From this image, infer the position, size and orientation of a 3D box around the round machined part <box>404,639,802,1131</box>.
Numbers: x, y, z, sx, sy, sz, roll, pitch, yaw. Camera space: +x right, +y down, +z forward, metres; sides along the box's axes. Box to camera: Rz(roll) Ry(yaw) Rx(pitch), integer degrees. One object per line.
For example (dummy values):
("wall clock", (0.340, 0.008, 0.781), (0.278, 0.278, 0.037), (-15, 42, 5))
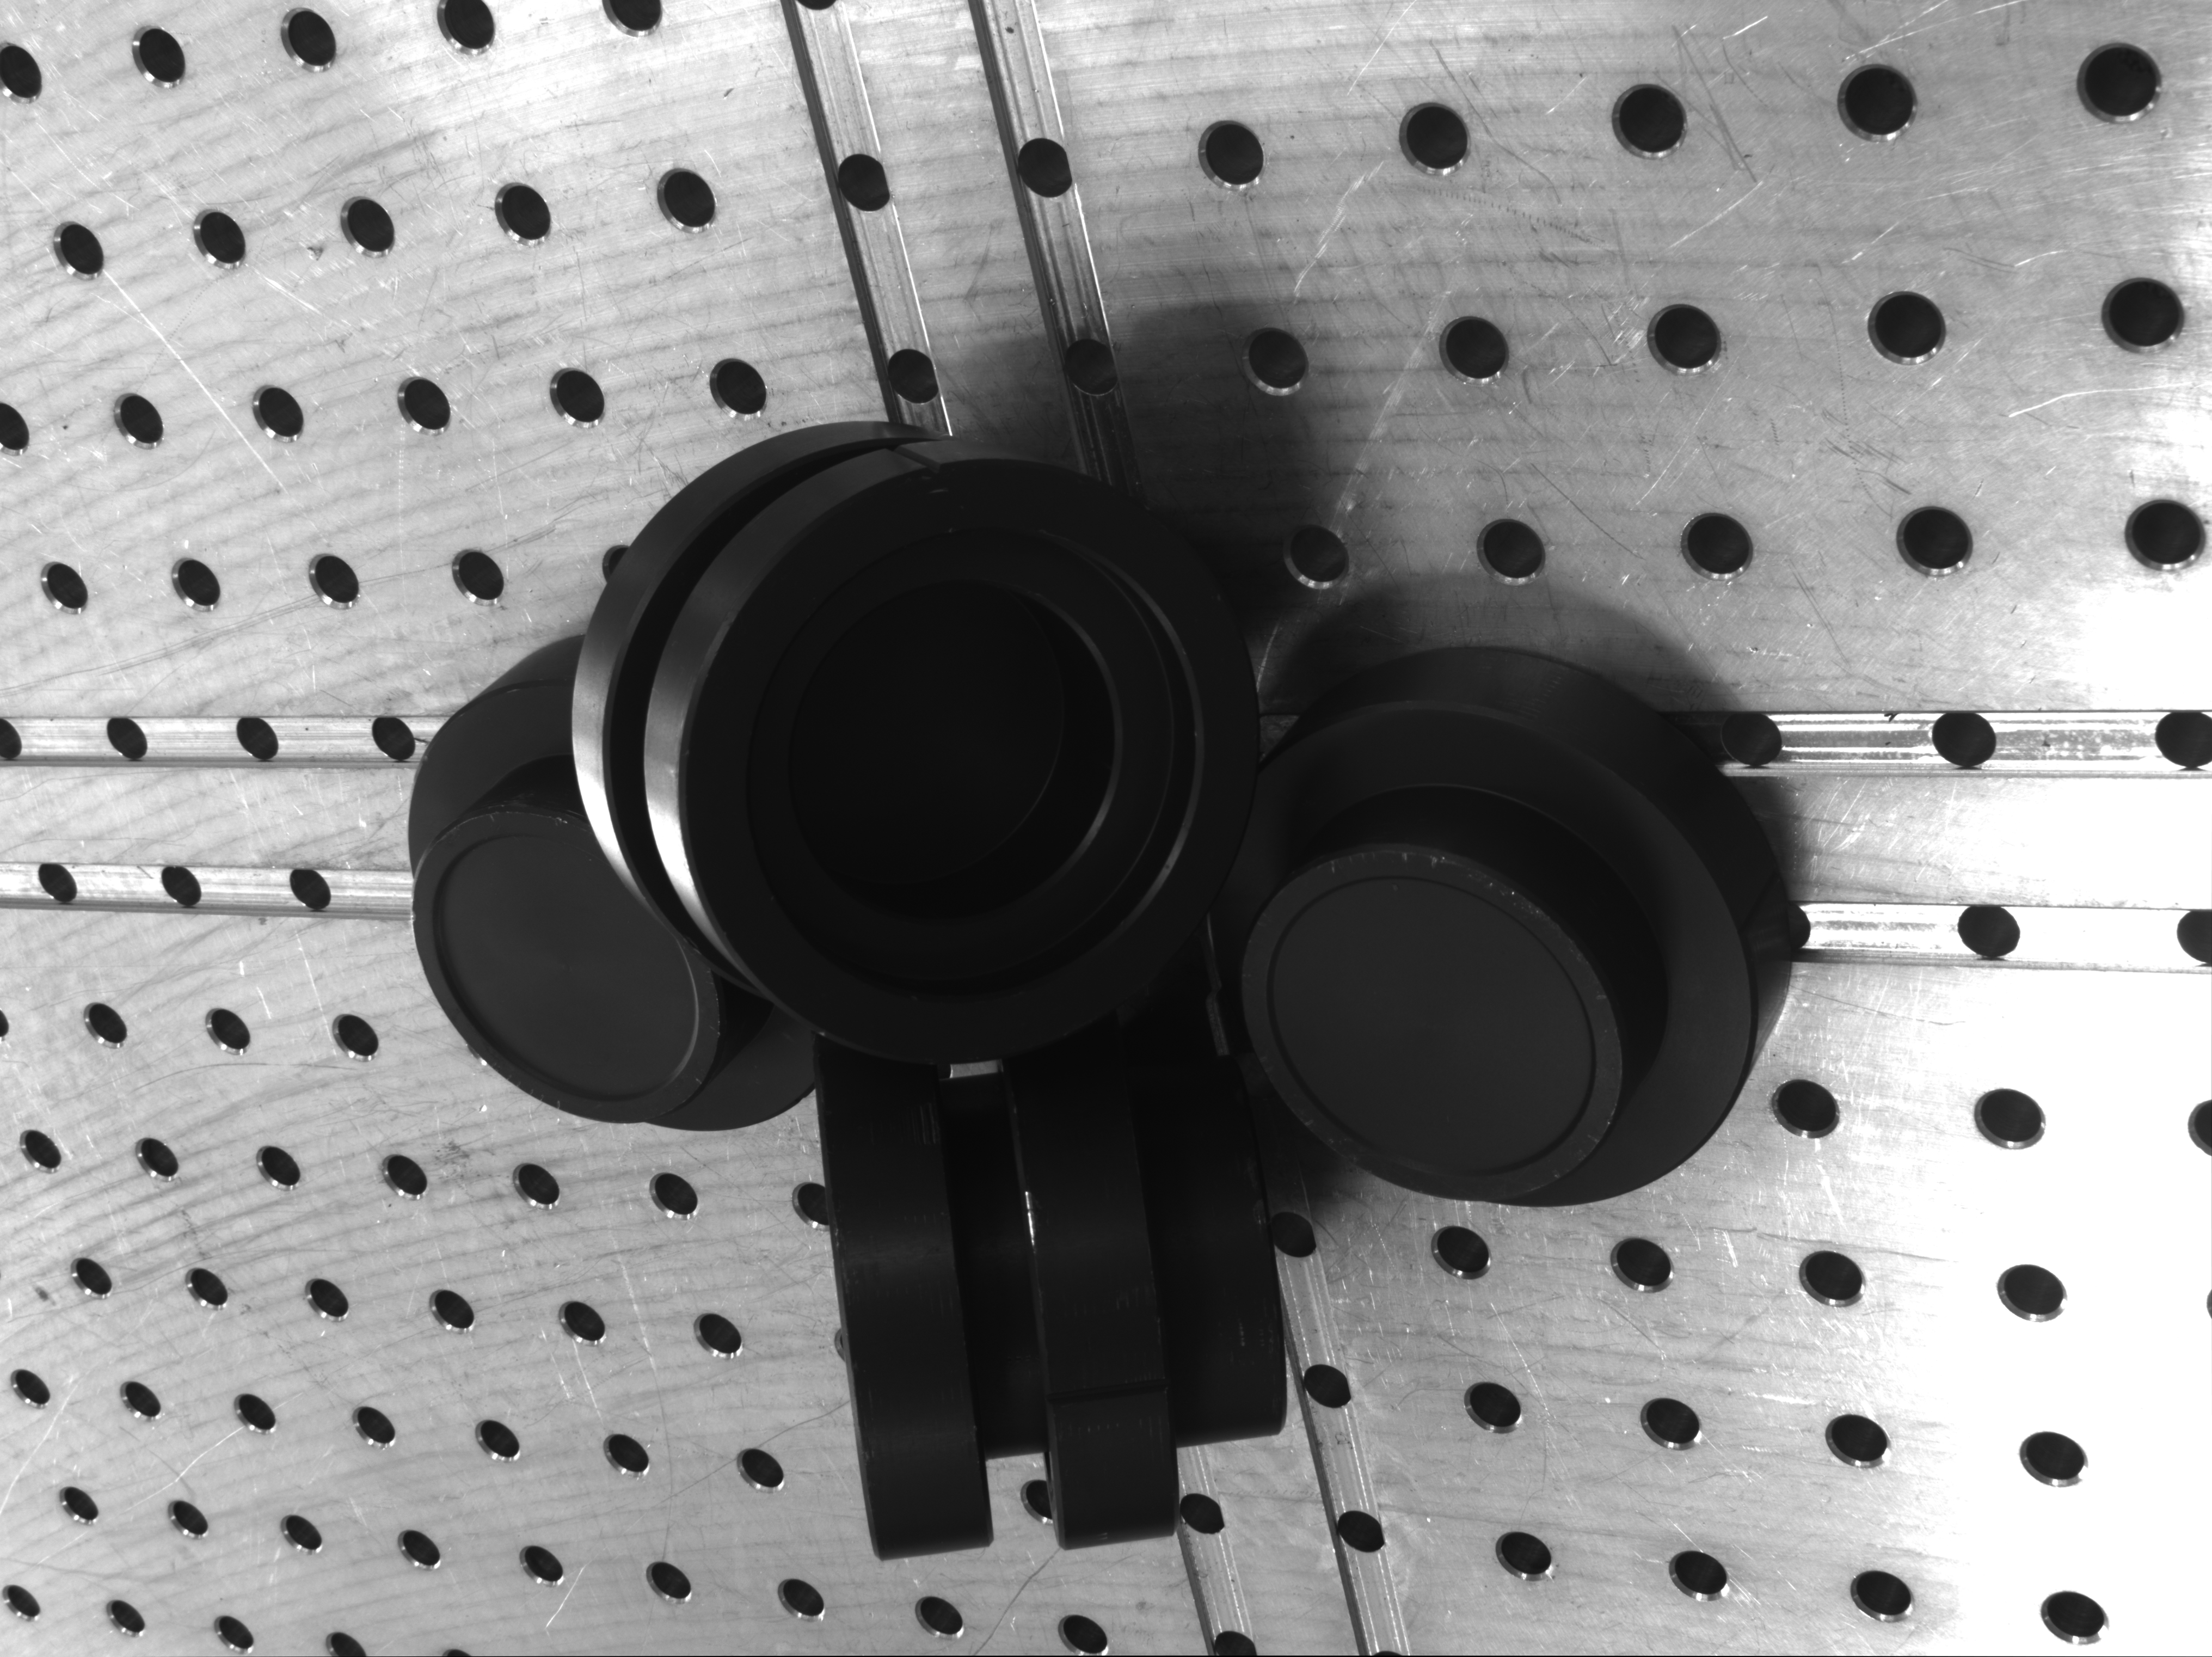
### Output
("round machined part", (-0.092, 0.016, 0.694), (0.098, 0.042, 0.098), (13, 124, 21))

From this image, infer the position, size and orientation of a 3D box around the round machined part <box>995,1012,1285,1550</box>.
("round machined part", (0.006, 0.077, 0.655), (0.042, 0.098, 0.098), (-7, 120, -4))

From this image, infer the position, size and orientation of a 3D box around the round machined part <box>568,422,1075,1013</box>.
("round machined part", (-0.044, -0.021, 0.625), (0.042, 0.098, 0.098), (31, 144, 63))

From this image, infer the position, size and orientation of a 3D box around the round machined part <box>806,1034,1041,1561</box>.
("round machined part", (-0.027, 0.079, 0.656), (0.042, 0.098, 0.098), (-7, 119, -4))

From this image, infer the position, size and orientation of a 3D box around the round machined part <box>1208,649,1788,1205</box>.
("round machined part", (0.061, 0.023, 0.616), (0.098, 0.042, 0.098), (13, 124, 21))

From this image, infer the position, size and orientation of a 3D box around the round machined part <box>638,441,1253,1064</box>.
("round machined part", (-0.029, -0.014, 0.597), (0.042, 0.098, 0.098), (31, 144, 63))
